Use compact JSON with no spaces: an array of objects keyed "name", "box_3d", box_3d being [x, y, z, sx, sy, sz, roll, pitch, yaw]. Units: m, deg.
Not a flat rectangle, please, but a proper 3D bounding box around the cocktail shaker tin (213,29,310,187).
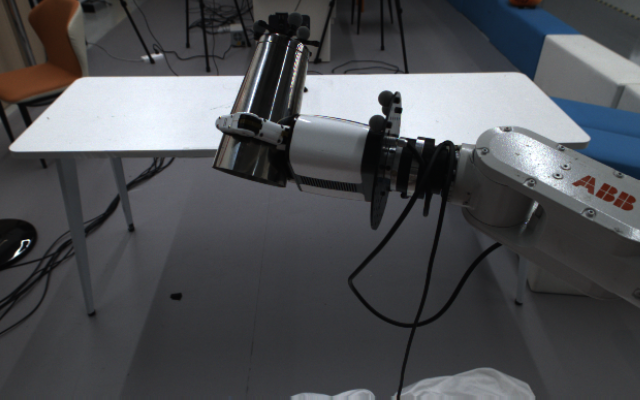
[{"name":"cocktail shaker tin","box_3d":[-0.065,-0.109,0.593,0.093,0.170,0.093,15,-4,1]}]
